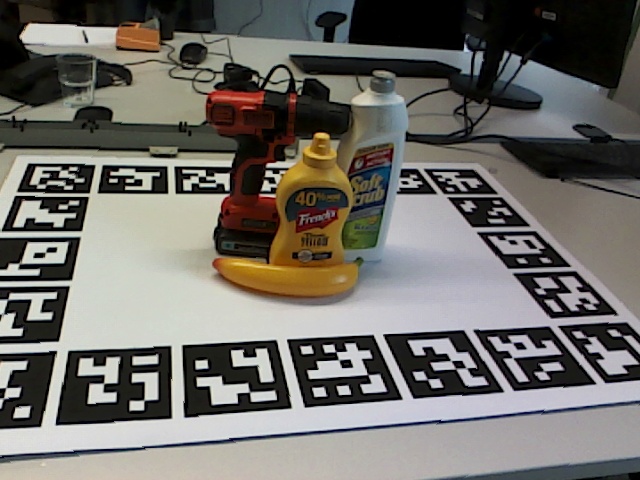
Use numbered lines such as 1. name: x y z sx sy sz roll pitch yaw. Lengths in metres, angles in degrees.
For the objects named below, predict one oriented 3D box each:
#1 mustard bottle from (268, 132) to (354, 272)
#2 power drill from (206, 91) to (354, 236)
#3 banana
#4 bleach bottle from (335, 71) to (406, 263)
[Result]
1. mustard bottle: -0.008 -0.041 0.762 0.096 0.191 0.059 1 33 -13
2. power drill: -0.059 -0.097 0.801 0.184 0.187 0.057 8 31 -3
3. banana: -0.032 0.047 0.778 0.197 0.039 0.074 1 34 -7
4. bleach bottle: 0.052 -0.093 0.812 0.102 0.250 0.068 1 27 -11
